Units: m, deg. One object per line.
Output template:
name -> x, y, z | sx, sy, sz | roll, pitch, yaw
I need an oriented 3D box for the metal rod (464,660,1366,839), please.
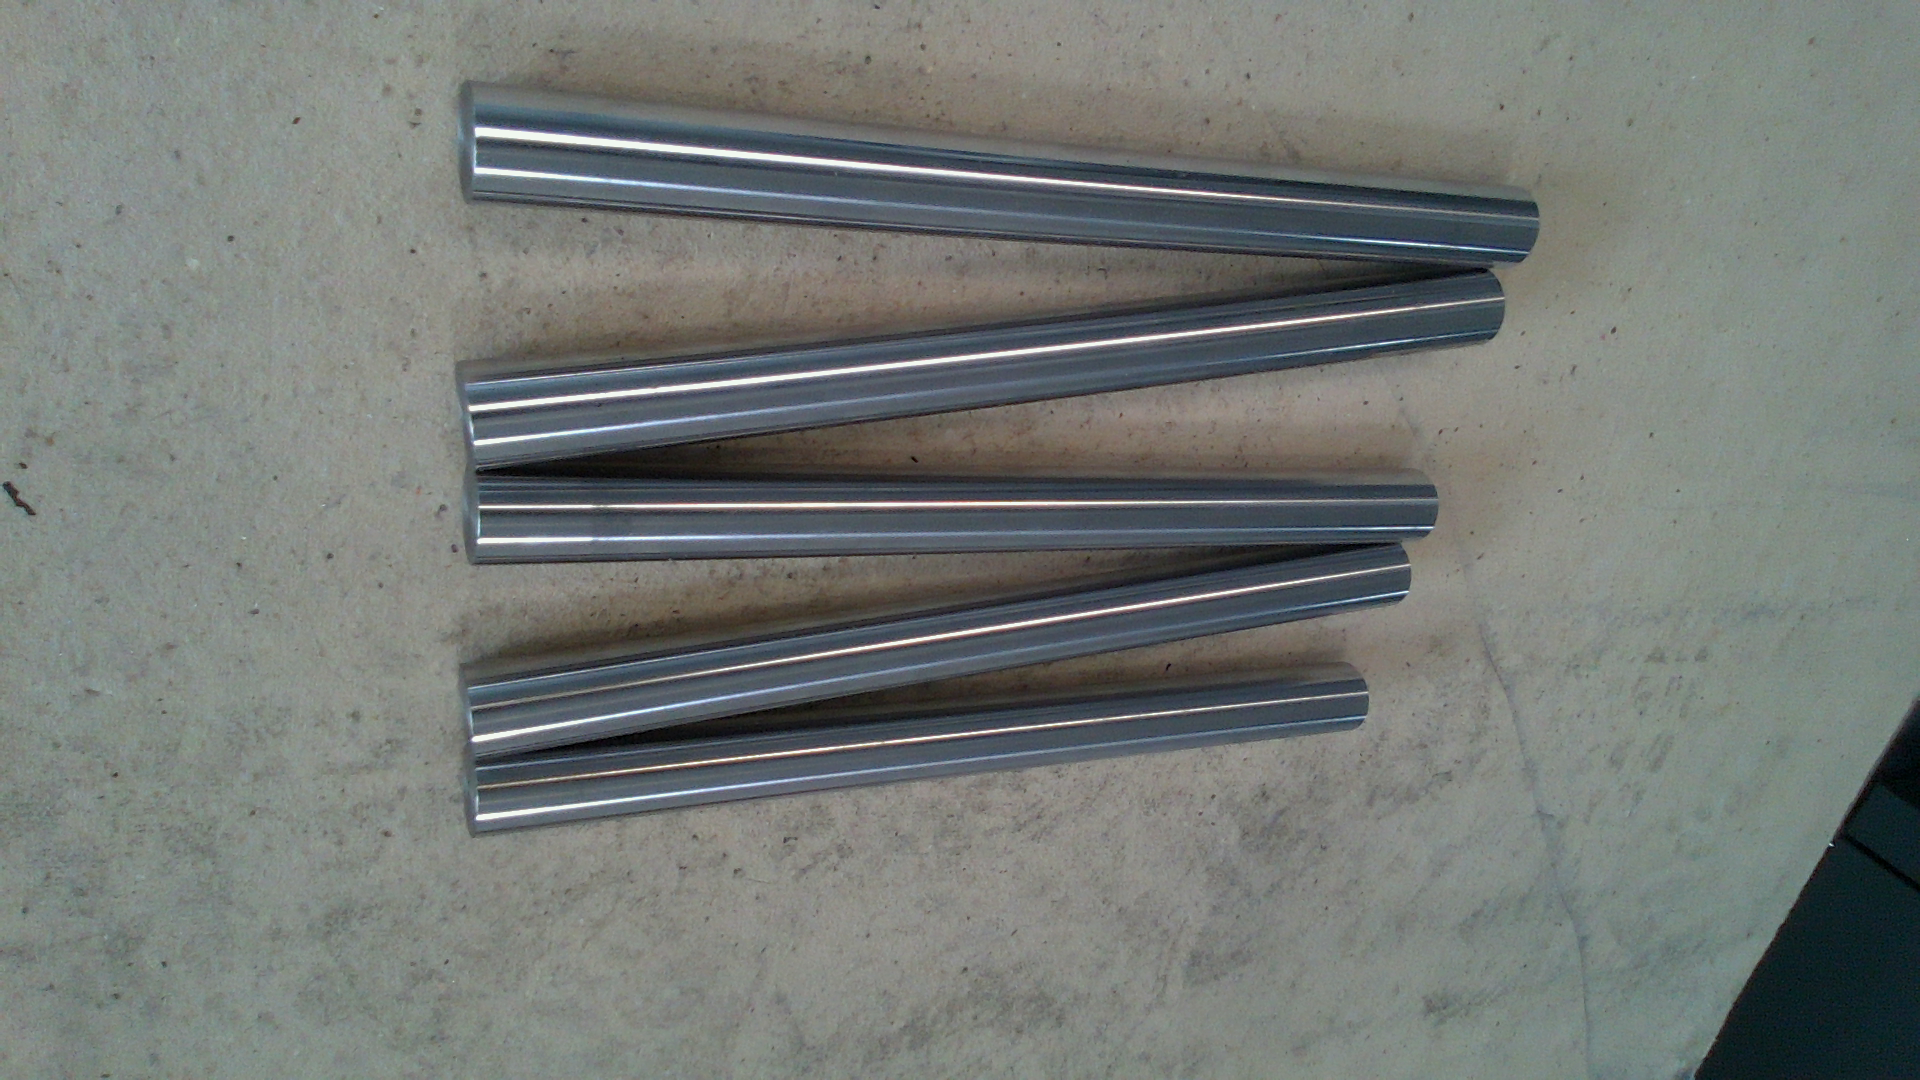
metal rod -> 0.005, 0.061, 0.430 | 0.301, 0.025, 0.025 | -2, 119, -28

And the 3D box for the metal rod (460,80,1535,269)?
metal rod -> 0.032, -0.088, 0.352 | 0.301, 0.025, 0.025 | -3, 120, -27

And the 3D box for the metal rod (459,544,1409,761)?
metal rod -> 0.010, 0.027, 0.411 | 0.301, 0.025, 0.025 | -7, 122, -25

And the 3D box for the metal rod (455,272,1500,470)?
metal rod -> 0.024, -0.051, 0.371 | 0.301, 0.025, 0.025 | -9, 123, -23

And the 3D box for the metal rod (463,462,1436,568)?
metal rod -> 0.018, -0.009, 0.393 | 0.301, 0.025, 0.025 | -1, 119, -28
